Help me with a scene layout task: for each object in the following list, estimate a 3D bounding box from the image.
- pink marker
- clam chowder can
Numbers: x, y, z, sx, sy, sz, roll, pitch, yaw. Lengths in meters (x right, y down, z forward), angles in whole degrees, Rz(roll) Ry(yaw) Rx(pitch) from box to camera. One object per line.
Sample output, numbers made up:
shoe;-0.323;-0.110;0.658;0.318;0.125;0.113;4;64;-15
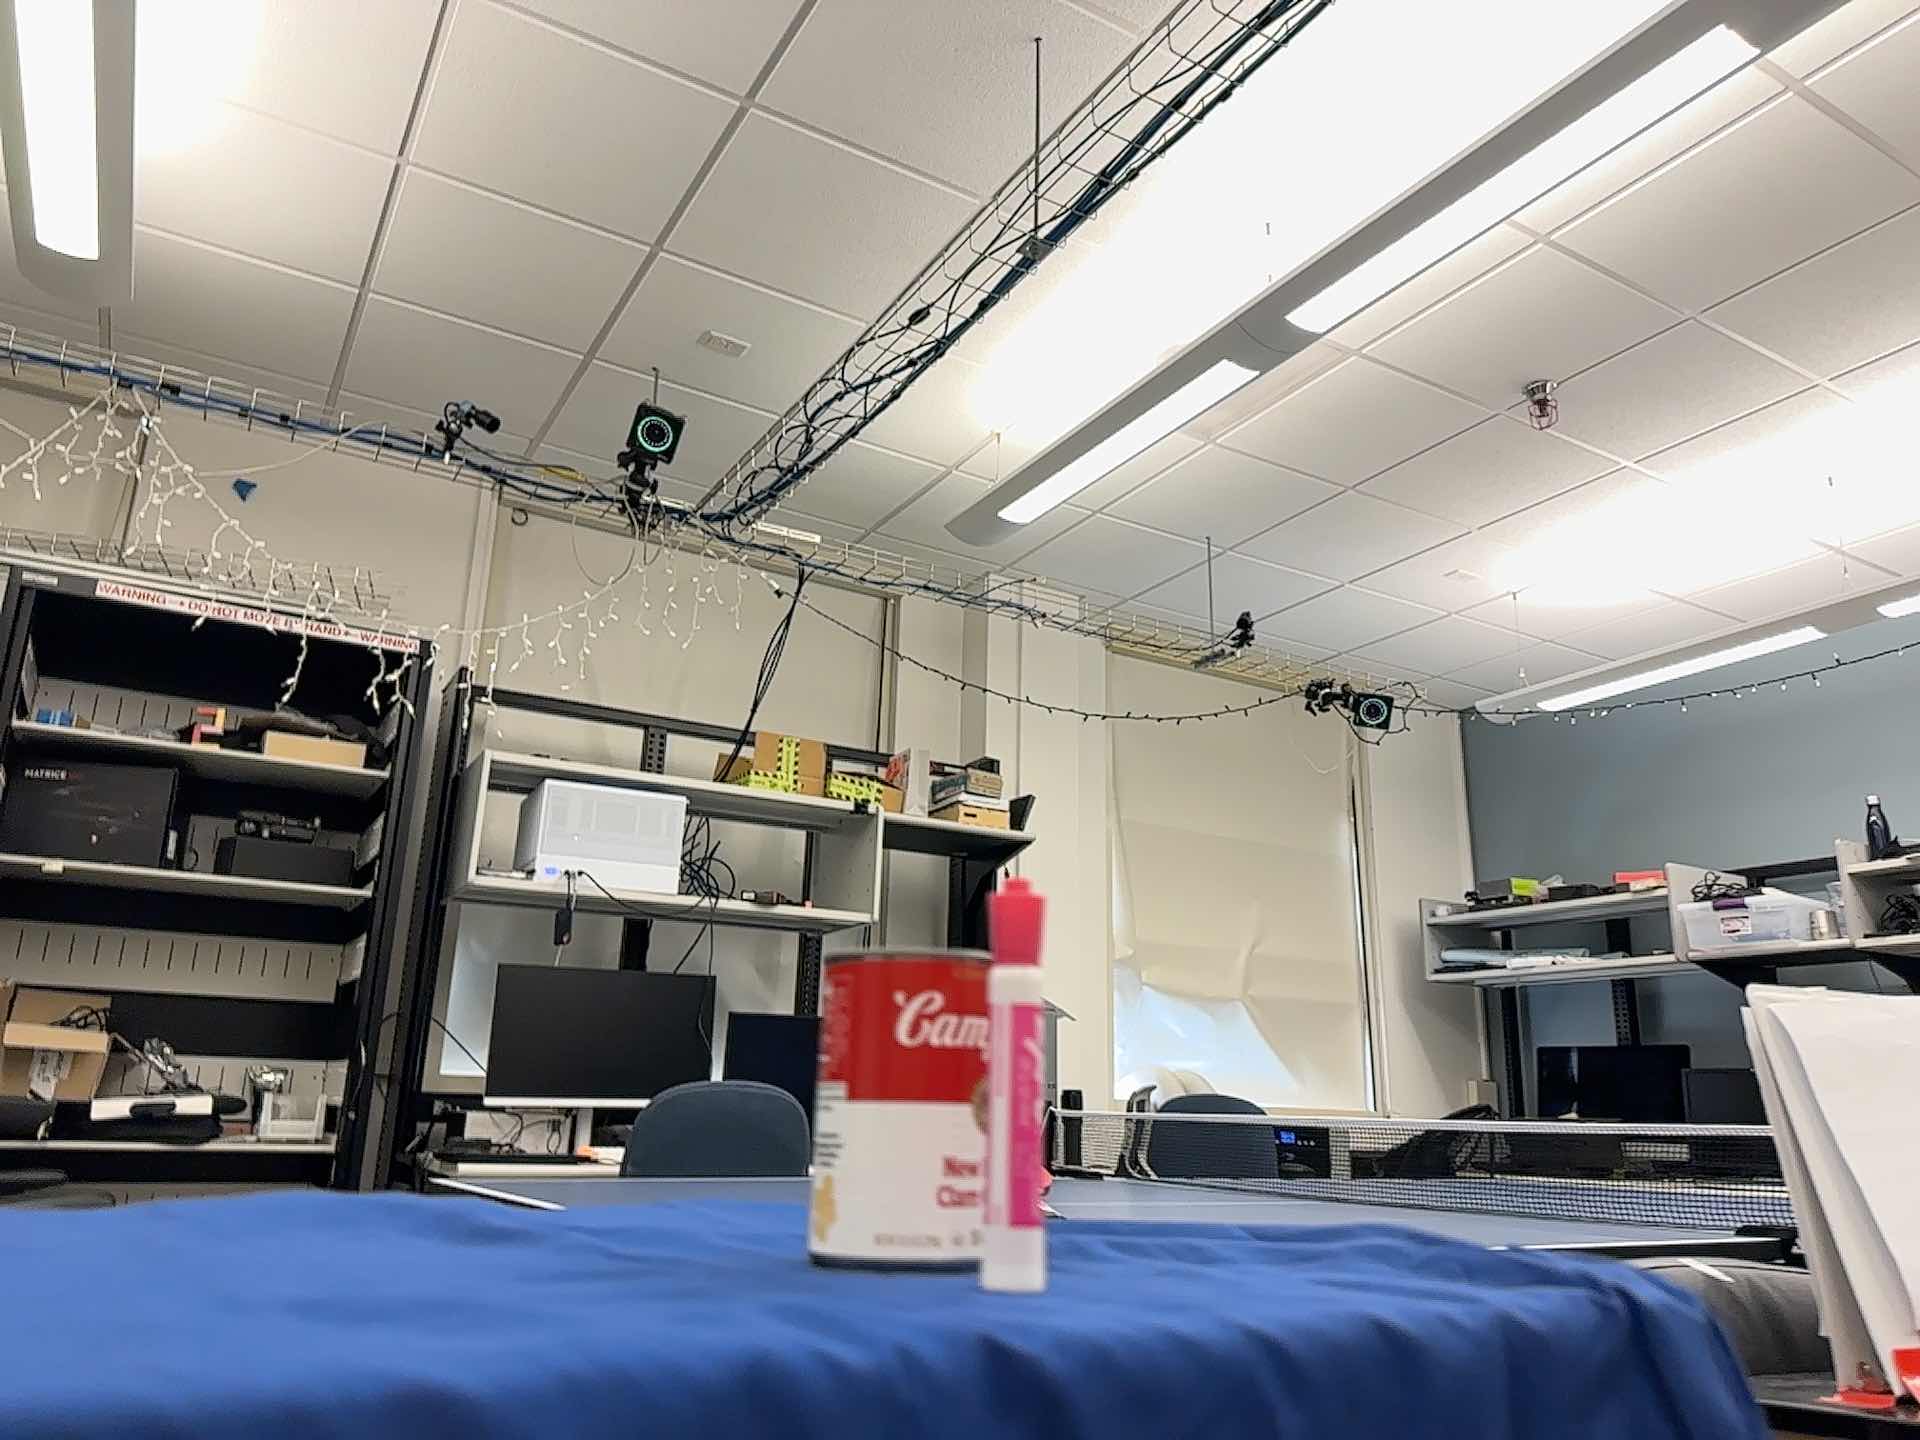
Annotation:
pink marker;0.017;0.108;0.410;0.020;0.121;0.020;1;-14;0
clam chowder can;-0.016;0.132;0.468;0.068;0.102;0.068;2;-13;0
